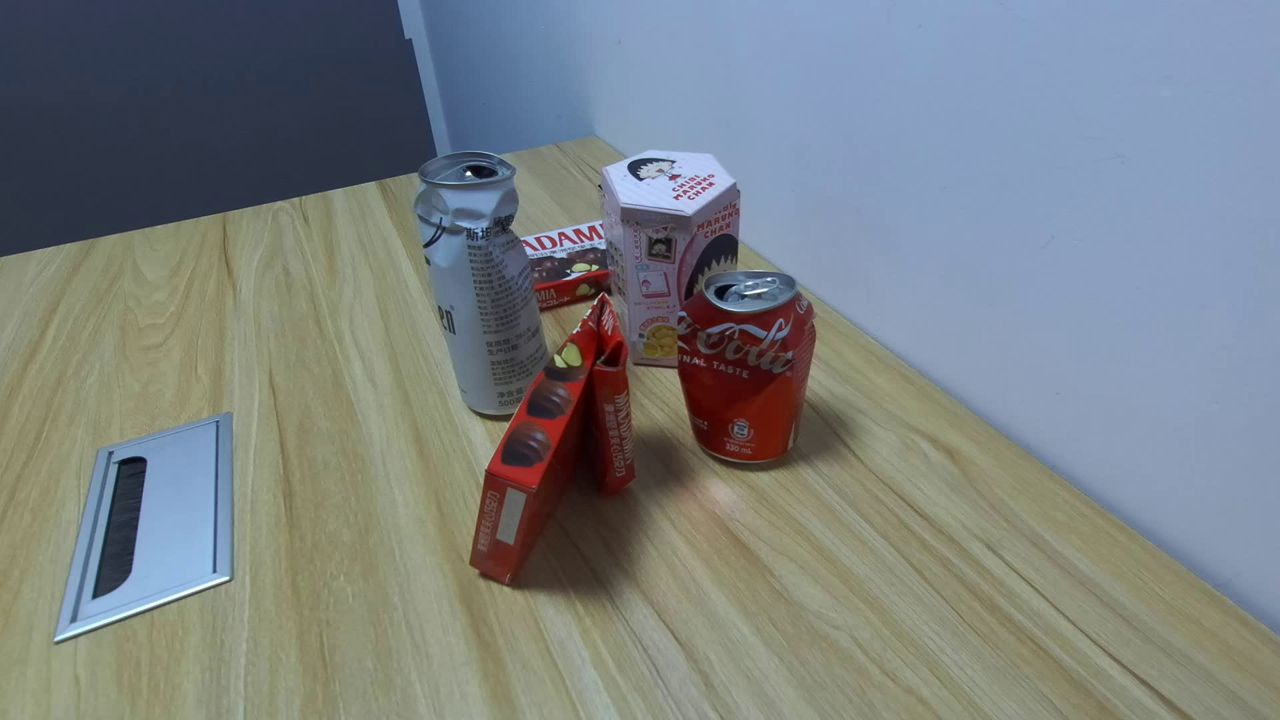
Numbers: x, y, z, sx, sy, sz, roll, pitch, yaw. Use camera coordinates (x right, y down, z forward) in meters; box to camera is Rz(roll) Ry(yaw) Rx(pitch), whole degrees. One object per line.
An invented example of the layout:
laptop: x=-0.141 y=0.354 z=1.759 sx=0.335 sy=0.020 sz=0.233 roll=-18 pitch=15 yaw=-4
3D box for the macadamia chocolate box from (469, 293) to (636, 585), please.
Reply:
macadamia chocolate box: x=-0.043 y=0.043 z=0.376 sx=0.056 sy=0.112 sz=0.126 roll=16 pitch=40 yaw=22

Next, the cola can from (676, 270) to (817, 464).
cola can: x=0.065 y=0.004 z=0.418 sx=0.069 sy=0.112 sz=0.066 roll=27 pitch=46 yaw=35

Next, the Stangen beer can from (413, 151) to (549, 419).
Stangen beer can: x=-0.097 y=-0.043 z=0.455 sx=0.065 sy=0.166 sz=0.066 roll=19 pitch=39 yaw=28

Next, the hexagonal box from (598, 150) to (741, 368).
hexagonal box: x=0.022 y=-0.071 z=0.505 sx=0.092 sy=0.135 sz=0.084 roll=-31 pitch=45 yaw=-33

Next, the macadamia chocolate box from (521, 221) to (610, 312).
macadamia chocolate box: x=-0.068 y=-0.082 z=0.622 sx=0.187 sy=0.027 sz=0.102 roll=-18 pitch=41 yaw=-18
